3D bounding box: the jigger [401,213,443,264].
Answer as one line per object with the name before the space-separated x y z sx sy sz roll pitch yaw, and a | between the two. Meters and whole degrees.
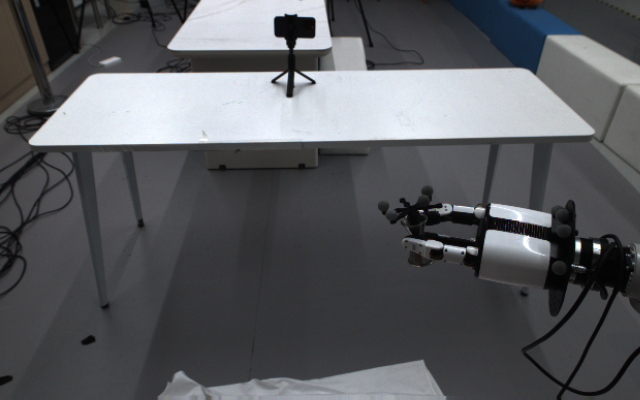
jigger | 0.146 0.059 0.719 0.043 0.071 0.043 -14 21 6
